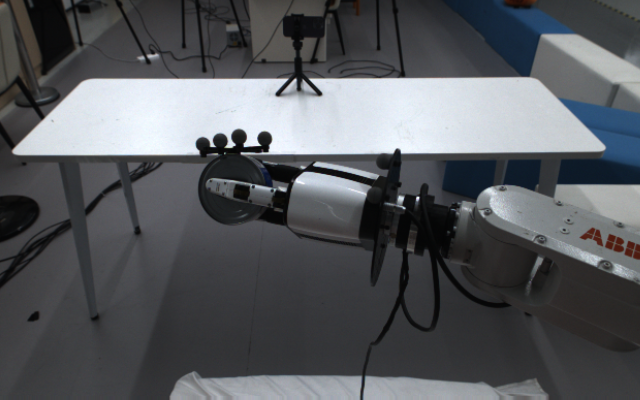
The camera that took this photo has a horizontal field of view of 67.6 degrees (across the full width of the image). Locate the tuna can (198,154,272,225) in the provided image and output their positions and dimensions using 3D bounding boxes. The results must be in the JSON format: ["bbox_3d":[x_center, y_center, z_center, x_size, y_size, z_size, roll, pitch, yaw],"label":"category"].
[{"bbox_3d":[-0.099,-0.008,0.586,0.085,0.085,0.034,10,3,11],"label":"tuna can"}]
